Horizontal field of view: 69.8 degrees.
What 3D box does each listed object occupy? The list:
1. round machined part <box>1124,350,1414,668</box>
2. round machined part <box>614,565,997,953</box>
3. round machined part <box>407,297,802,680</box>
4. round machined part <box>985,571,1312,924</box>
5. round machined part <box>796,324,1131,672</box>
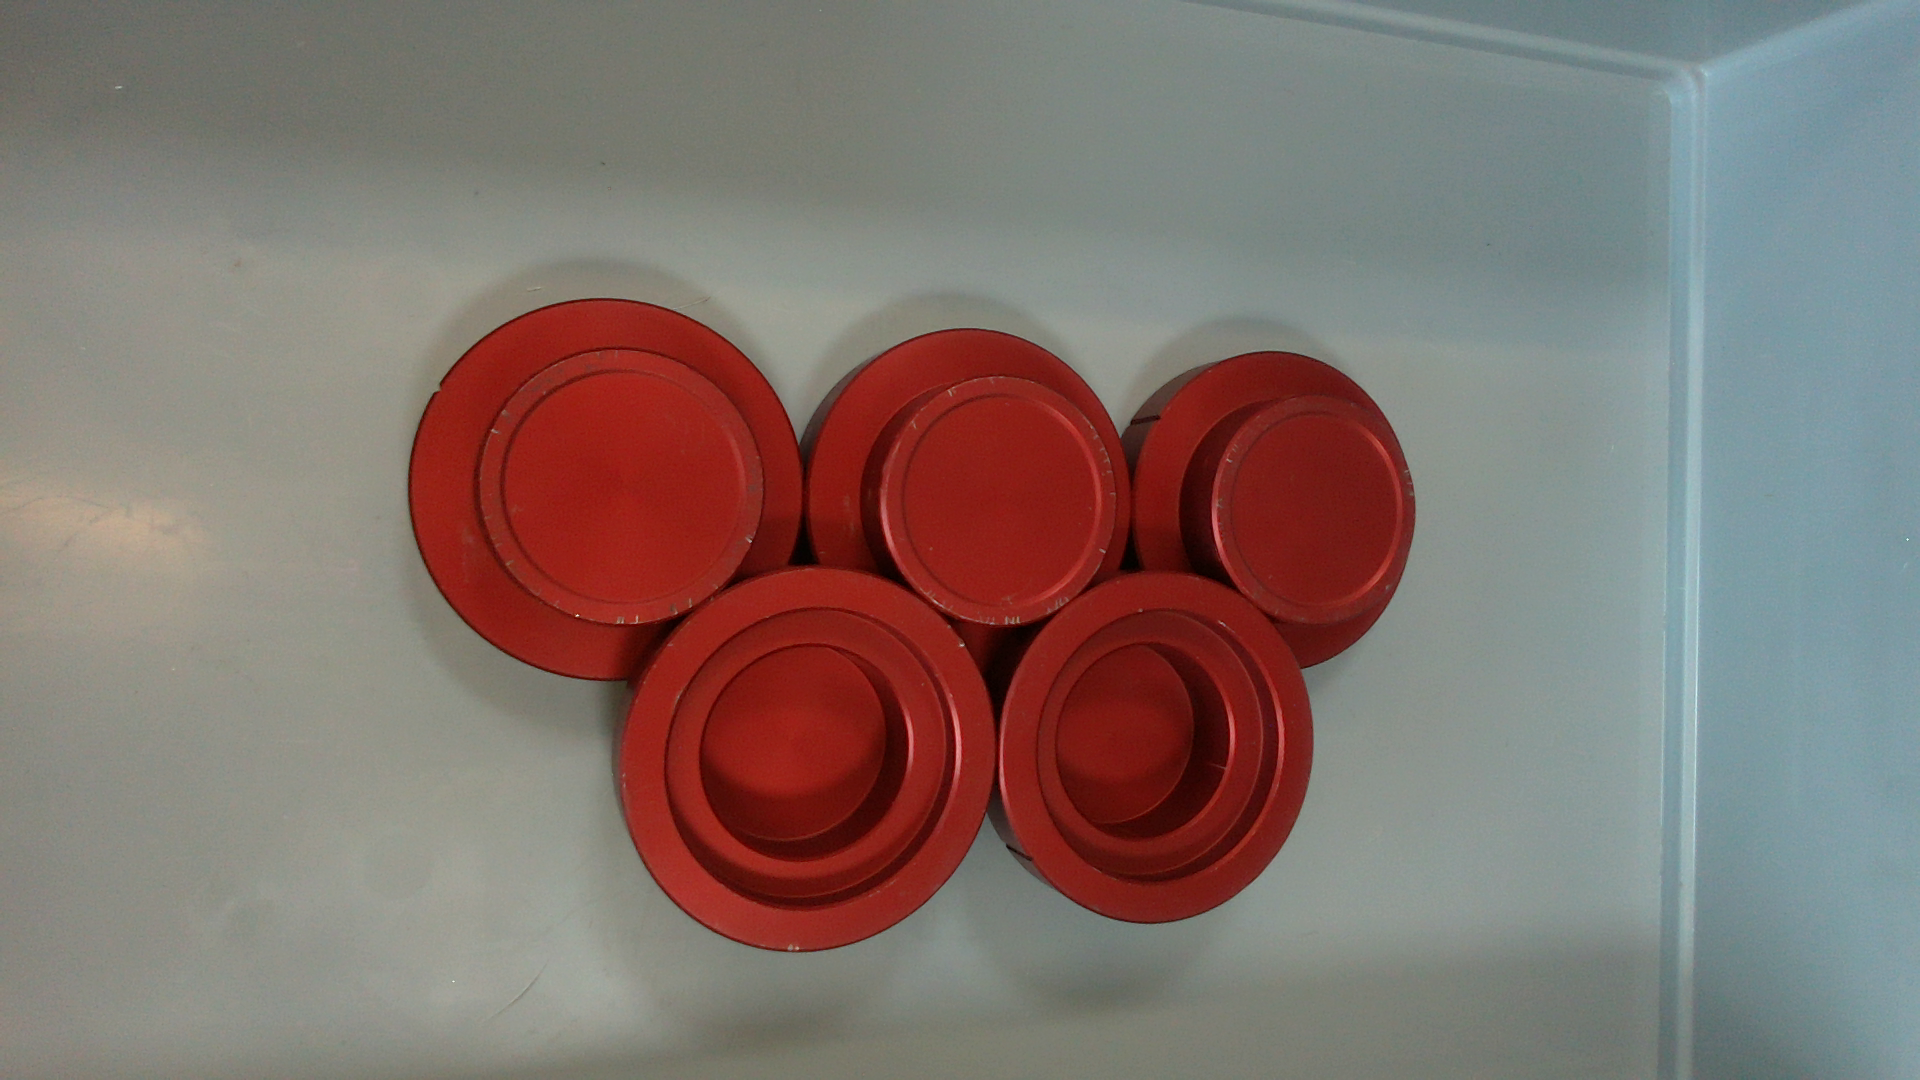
[{"bbox_3d":[0.097,-0.009,0.417,0.098,0.042,0.098,0,89,-19],"label":"round machined part"},{"bbox_3d":[-0.043,0.055,0.367,0.098,0.042,0.098,0,90,-20],"label":"round machined part"},{"bbox_3d":[-0.088,-0.013,0.350,0.098,0.042,0.098,0,89,-21],"label":"round machined part"},{"bbox_3d":[0.049,0.058,0.401,0.098,0.042,0.098,0,90,-20],"label":"round machined part"},{"bbox_3d":[0.004,-0.011,0.384,0.098,0.042,0.098,0,89,-19],"label":"round machined part"}]
